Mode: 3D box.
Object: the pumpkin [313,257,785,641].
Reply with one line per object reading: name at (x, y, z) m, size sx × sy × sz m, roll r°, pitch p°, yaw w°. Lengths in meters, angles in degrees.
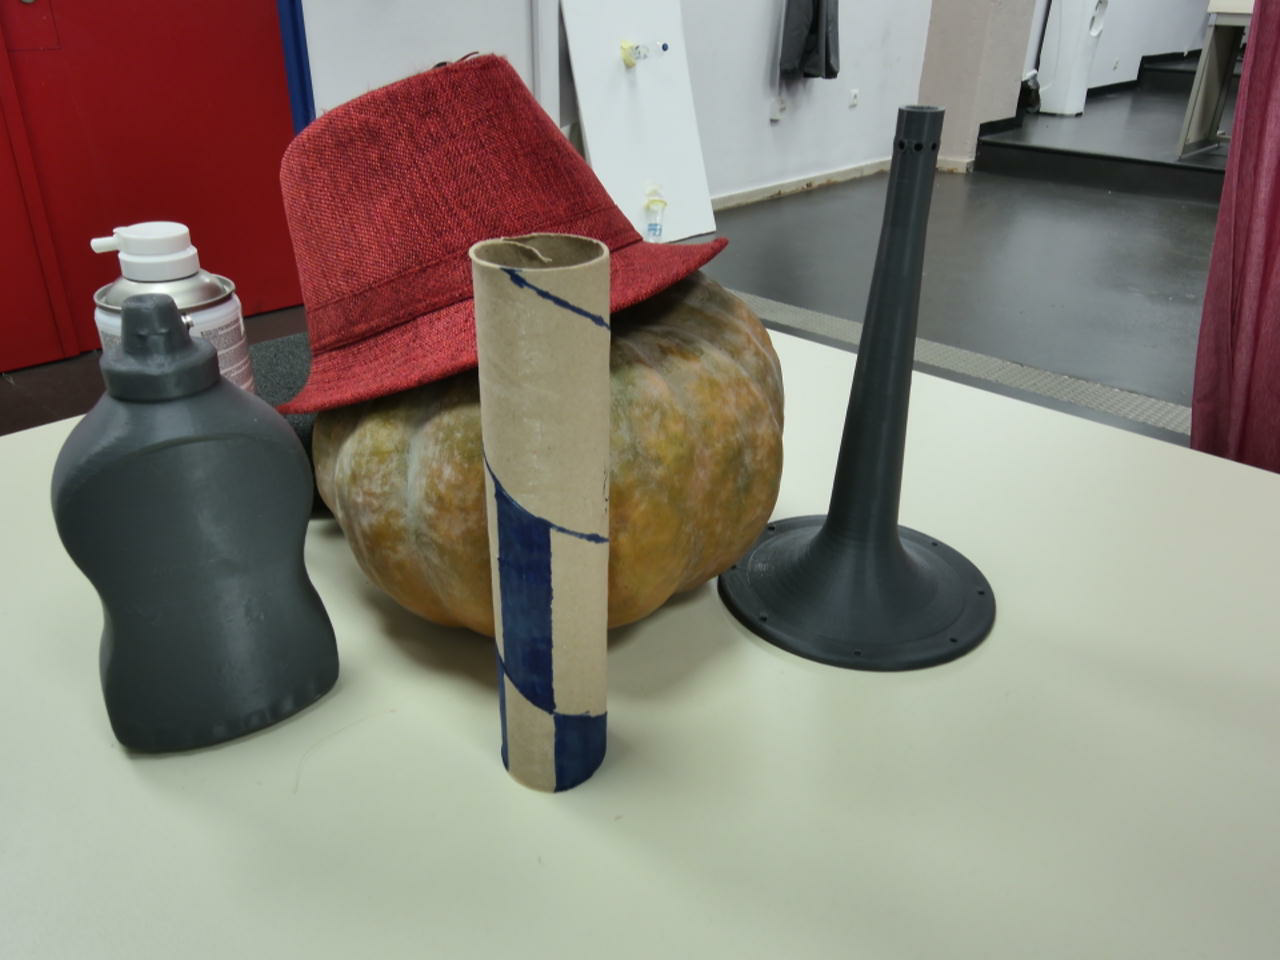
pumpkin at (-0.046, -0.023, 0.529) m, size 0.252 × 0.169 × 0.251 m, roll 0°, pitch 26°, yaw 0°
